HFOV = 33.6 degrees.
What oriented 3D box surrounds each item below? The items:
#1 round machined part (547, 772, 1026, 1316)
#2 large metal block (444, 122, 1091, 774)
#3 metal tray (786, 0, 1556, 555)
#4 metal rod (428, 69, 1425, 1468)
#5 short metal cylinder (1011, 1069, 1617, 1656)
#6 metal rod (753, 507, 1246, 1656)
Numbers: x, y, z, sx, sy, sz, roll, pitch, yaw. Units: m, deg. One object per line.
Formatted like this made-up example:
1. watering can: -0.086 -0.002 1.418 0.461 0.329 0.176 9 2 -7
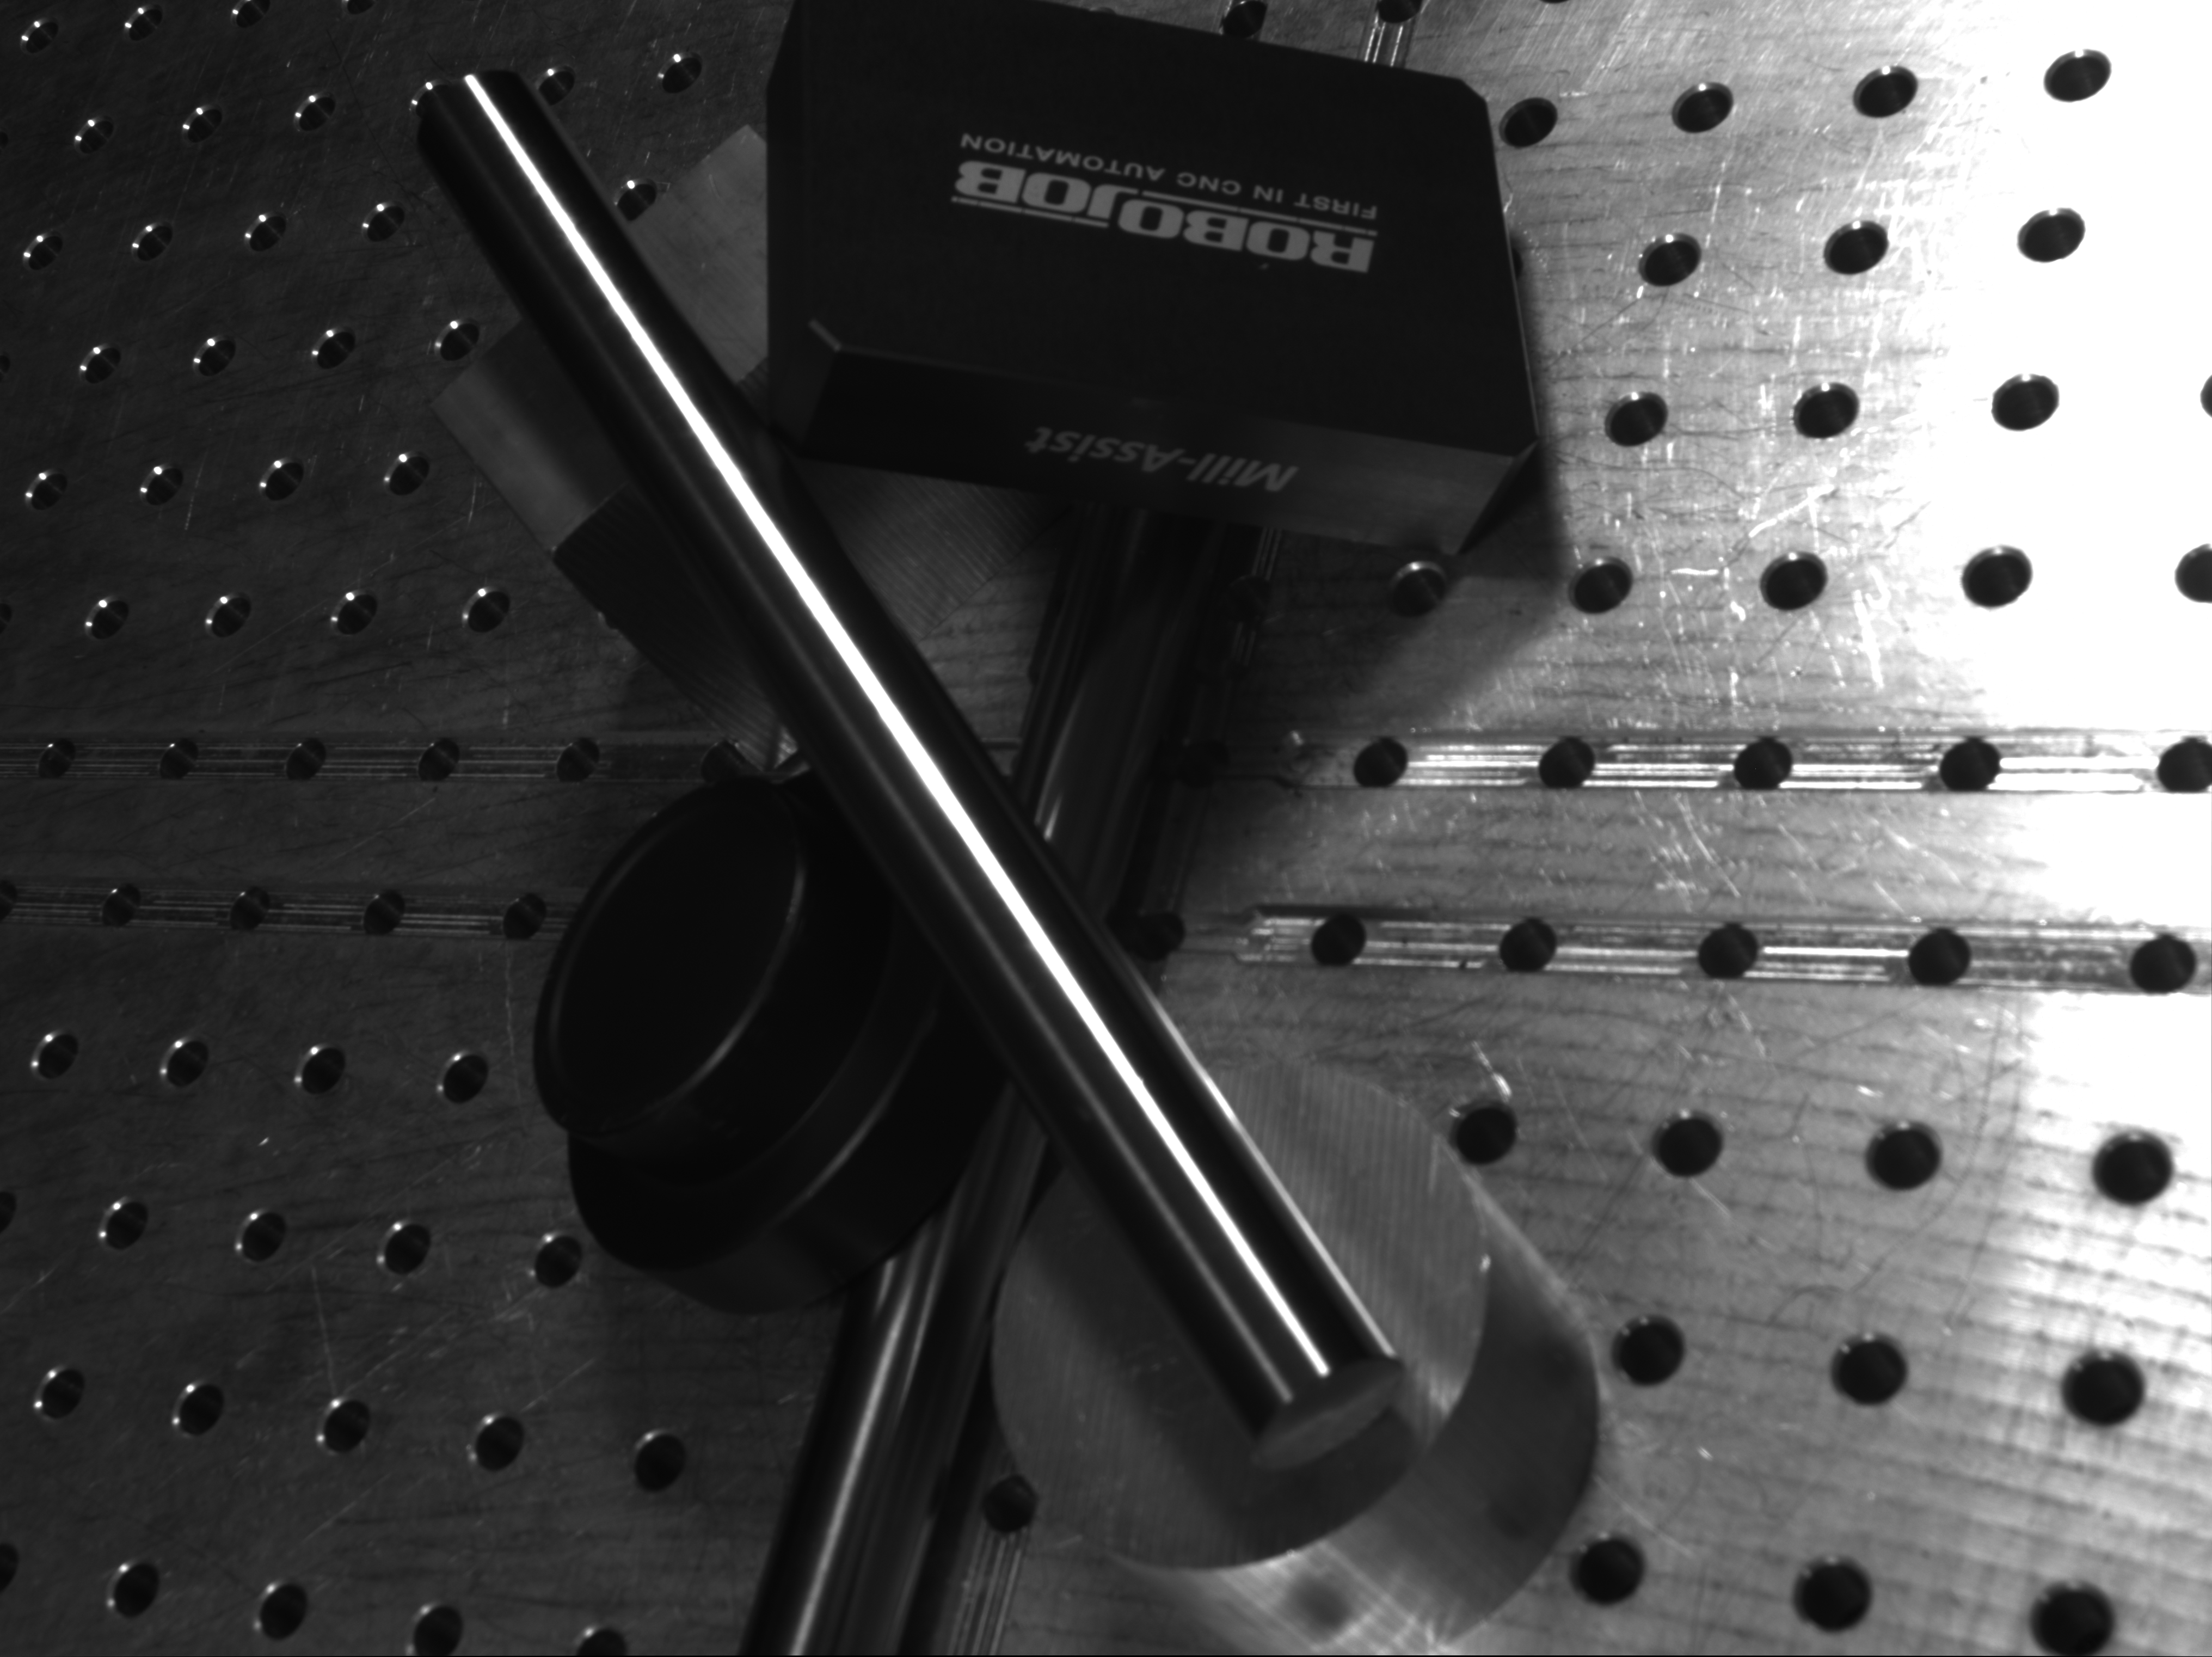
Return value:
1. round machined part: -0.058 0.031 0.629 0.098 0.042 0.098 -28 44 31
2. large metal block: -0.062 -0.070 0.690 0.080 0.080 0.050 -42 51 0
3. metal tray: 0.010 -0.101 0.650 0.130 0.030 0.090 7 55 -16
4. metal rod: -0.039 -0.023 0.591 0.025 0.025 0.299 -37 59 4
5. short metal cylinder: 0.032 0.084 0.563 0.080 0.050 0.080 -13 56 21
6. metal rod: -0.009 0.017 0.642 0.025 0.025 0.300 2 63 30
